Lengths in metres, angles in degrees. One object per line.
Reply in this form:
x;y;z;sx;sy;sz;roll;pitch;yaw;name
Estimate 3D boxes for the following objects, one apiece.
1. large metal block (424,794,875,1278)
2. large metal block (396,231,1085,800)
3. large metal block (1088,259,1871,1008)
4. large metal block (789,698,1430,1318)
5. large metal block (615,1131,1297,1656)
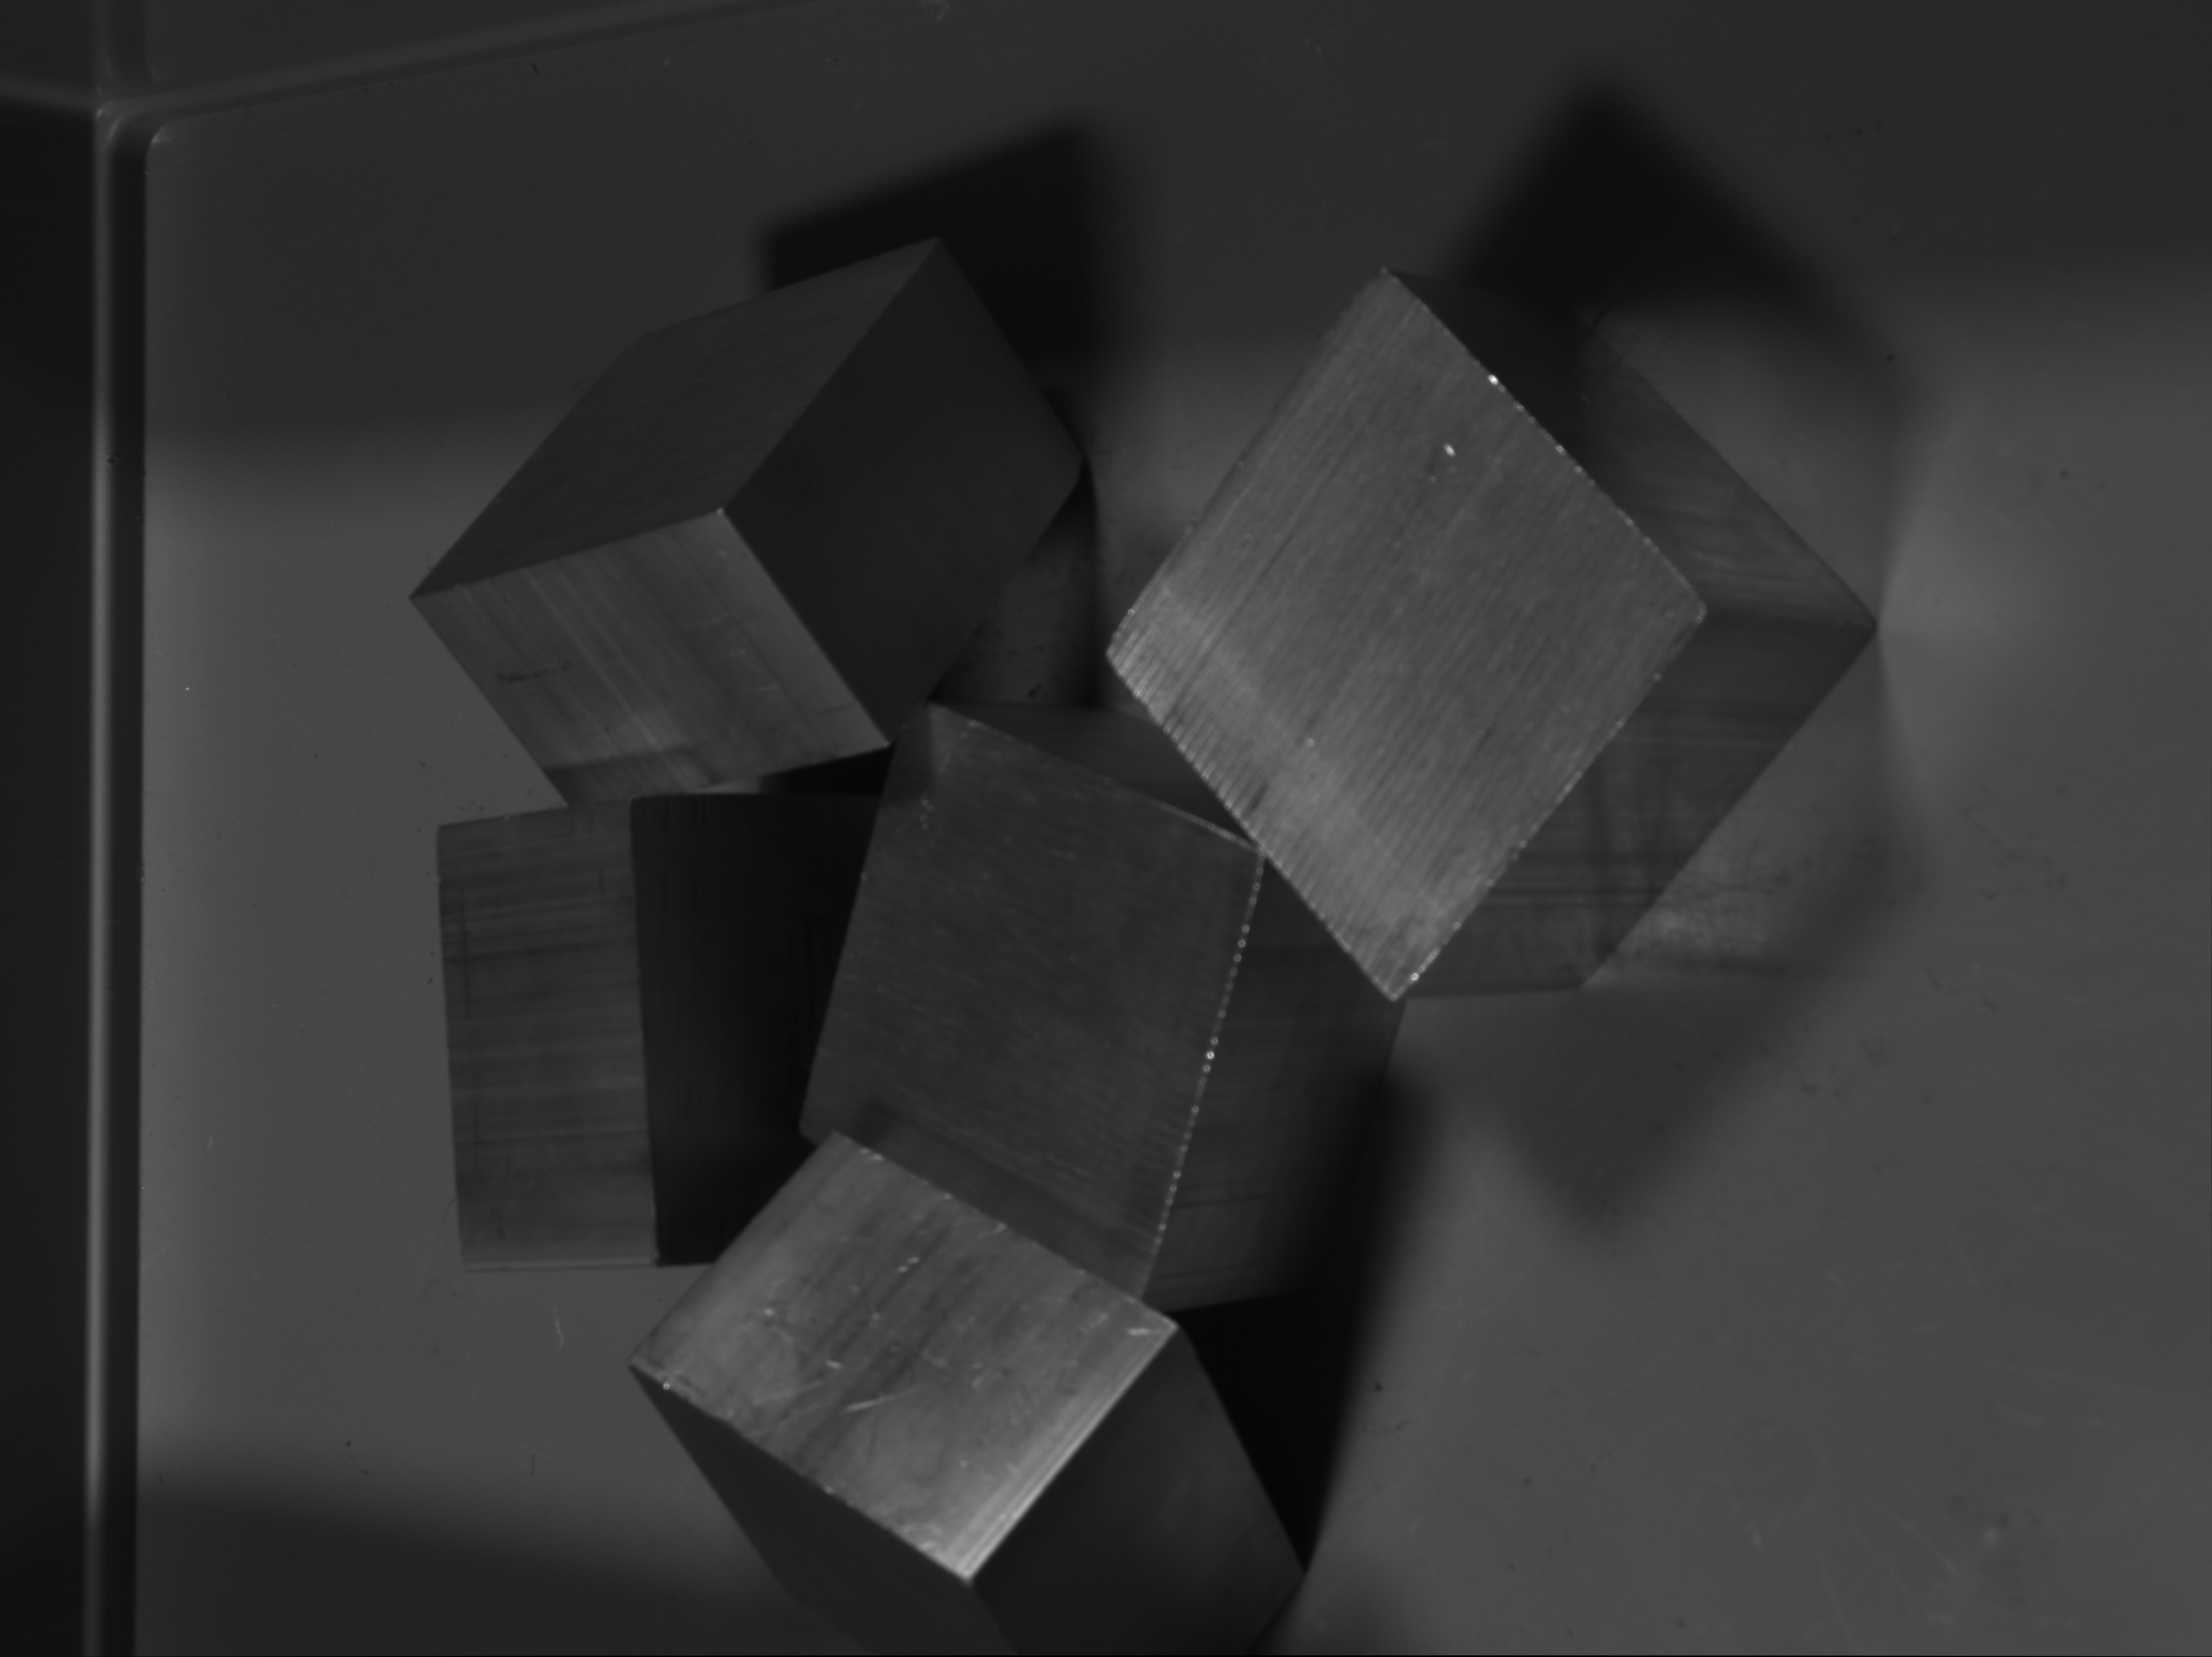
-0.073;0.037;0.660;0.050;0.080;0.080;-7;85;39;large metal block
-0.063;-0.053;0.644;0.080;0.080;0.050;-10;125;40;large metal block
0.057;-0.029;0.572;0.080;0.050;0.080;51;119;27;large metal block
0.000;0.029;0.620;0.080;0.050;0.080;24;105;37;large metal block
-0.024;0.107;0.610;0.080;0.080;0.050;24;63;35;large metal block
